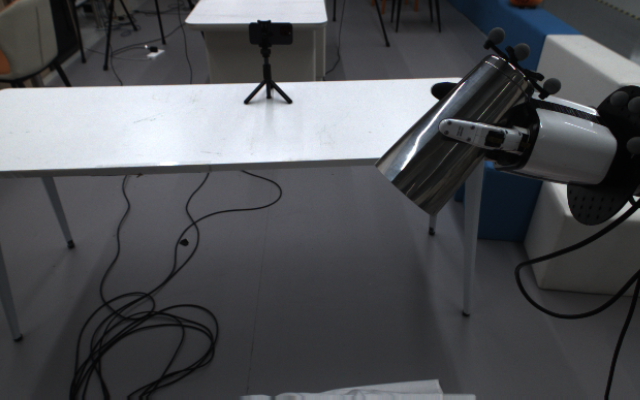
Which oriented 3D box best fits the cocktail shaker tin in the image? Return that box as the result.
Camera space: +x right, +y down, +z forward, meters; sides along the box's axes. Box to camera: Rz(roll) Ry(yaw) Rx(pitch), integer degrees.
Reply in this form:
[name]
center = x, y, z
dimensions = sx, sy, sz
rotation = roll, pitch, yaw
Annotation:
[cocktail shaker tin]
center = 0.153, -0.078, 0.545
dimensions = 0.093, 0.170, 0.093
rotation = 41, 12, -10
